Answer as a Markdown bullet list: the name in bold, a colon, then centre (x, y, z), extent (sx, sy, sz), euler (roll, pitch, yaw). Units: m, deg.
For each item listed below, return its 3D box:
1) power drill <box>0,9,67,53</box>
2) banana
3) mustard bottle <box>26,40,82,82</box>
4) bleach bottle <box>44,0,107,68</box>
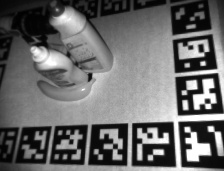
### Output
- **power drill**: centre (-0.201, -0.137, 0.584), extent (0.183, 0.189, 0.057), euler (9, 74, 21)
- **banana**: centre (-0.153, -0.010, 0.642), extent (0.195, 0.039, 0.074), euler (1, 73, 22)
- **mustard bottle**: centre (-0.160, -0.066, 0.568), extent (0.095, 0.193, 0.058), euler (-3, 71, 18)
- **bleach bottle**: centre (-0.099, -0.133, 0.543), extent (0.102, 0.253, 0.068), euler (-1, 66, 20)
